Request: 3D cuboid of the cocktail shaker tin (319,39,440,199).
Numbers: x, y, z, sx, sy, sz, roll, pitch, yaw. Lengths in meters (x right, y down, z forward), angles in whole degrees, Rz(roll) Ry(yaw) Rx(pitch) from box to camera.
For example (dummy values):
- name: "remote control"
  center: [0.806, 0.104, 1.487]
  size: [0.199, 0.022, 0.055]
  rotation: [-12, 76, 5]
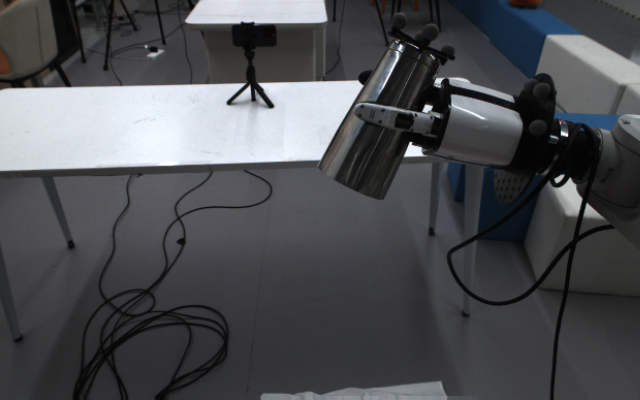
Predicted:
- name: "cocktail shaker tin"
  center: [0.077, -0.098, 0.578]
  size: [0.093, 0.170, 0.093]
  rotation: [24, 12, -6]
